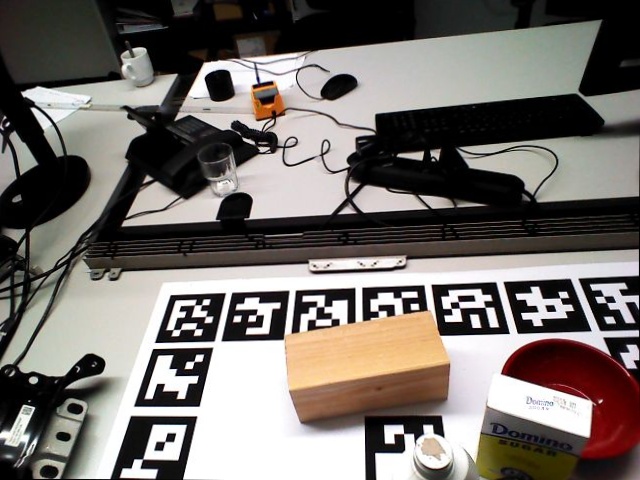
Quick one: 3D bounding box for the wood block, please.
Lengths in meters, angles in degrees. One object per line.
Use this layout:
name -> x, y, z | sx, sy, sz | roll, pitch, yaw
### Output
wood block -> 0.064, 0.166, 0.692 | 0.207, 0.090, 0.090 | -9, 47, 1

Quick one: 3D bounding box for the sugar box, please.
sugar box -> 0.226, 0.207, 0.540 | 0.093, 0.177, 0.045 | 10, 48, 26

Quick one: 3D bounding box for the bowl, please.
bowl -> 0.319, 0.191, 0.630 | 0.162, 0.055, 0.161 | -9, 42, 8

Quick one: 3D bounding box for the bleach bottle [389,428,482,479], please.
bleach bottle -> 0.095, 0.248, 0.474 | 0.102, 0.251, 0.068 | -21, 42, -11

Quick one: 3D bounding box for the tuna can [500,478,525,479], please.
tuna can -> 0.210, 0.301, 0.547 | 0.086, 0.034, 0.085 | -7, 46, 6
